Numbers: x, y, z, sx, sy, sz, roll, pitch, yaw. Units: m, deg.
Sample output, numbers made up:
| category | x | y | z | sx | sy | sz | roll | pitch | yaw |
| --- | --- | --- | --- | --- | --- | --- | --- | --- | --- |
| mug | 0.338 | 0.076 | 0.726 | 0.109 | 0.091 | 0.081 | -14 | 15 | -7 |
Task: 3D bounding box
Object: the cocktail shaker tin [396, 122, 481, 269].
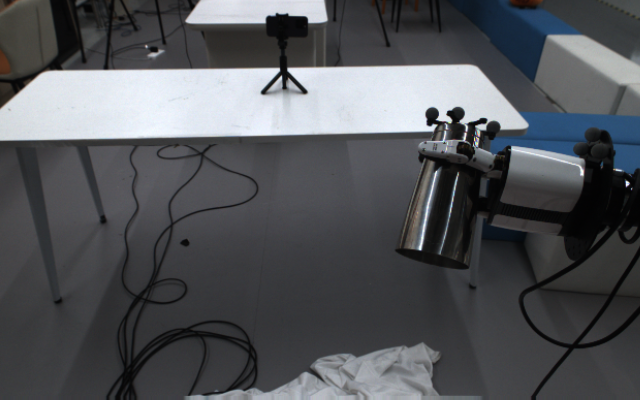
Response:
| category | x | y | z | sx | sy | sz | roll | pitch | yaw |
| --- | --- | --- | --- | --- | --- | --- | --- | --- | --- |
| cocktail shaker tin | 0.162 | -0.011 | 0.612 | 0.093 | 0.093 | 0.170 | 13 | 77 | 15 |
